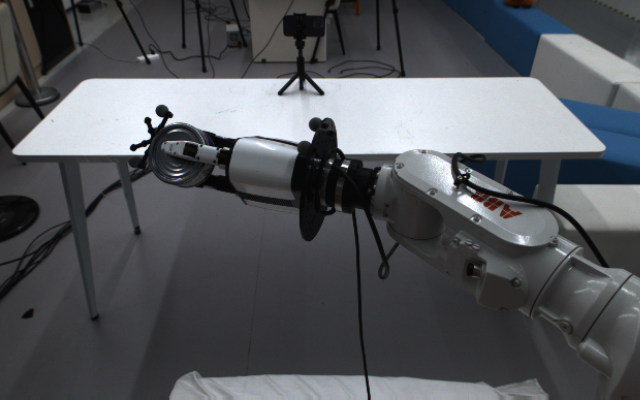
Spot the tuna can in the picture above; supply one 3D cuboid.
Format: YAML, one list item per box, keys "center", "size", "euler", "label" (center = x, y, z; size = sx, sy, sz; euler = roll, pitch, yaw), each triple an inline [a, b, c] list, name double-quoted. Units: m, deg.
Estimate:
- center: [-0.186, -0.060, 0.661]
  size: [0.085, 0.085, 0.034]
  euler: [8, -2, 8]
  label: "tuna can"
